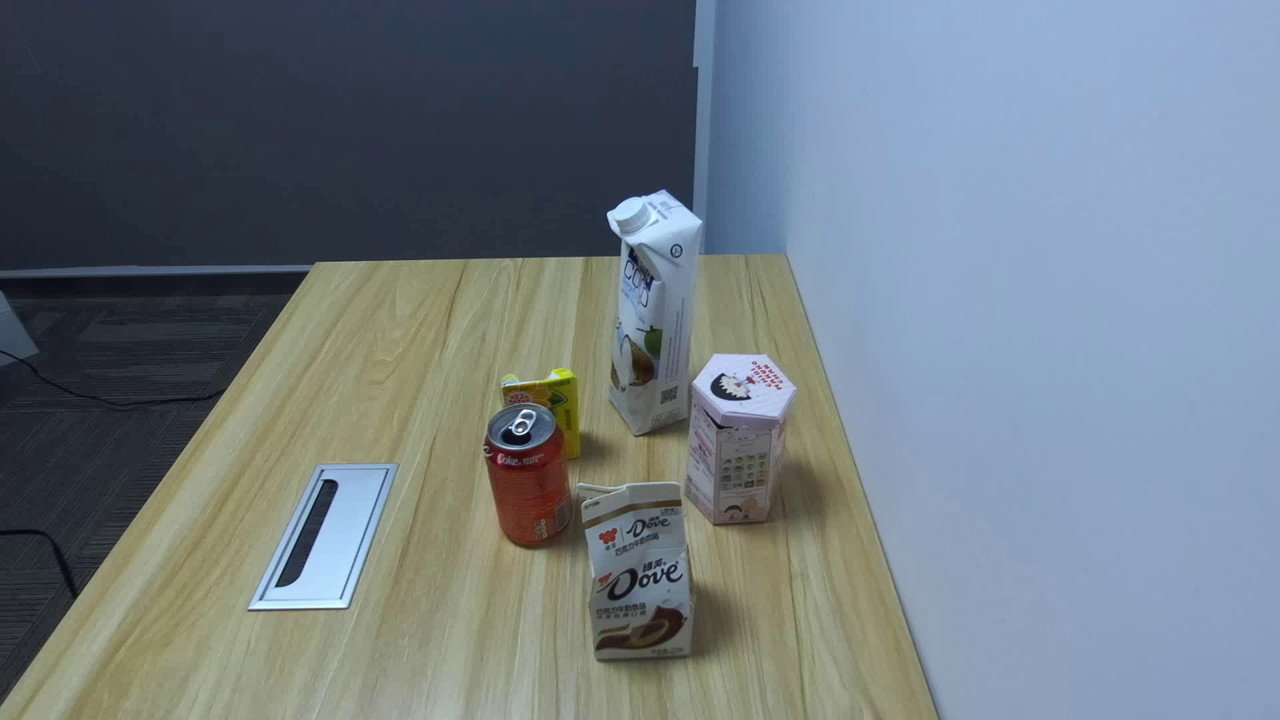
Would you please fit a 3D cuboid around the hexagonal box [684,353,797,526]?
[{"bbox_3d":[0.083,0.069,0.615,0.085,0.135,0.091,-20,42,-23],"label":"hexagonal box"}]

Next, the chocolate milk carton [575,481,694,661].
[{"bbox_3d":[0.001,0.143,0.510,0.084,0.155,0.073,-2,39,-1],"label":"chocolate milk carton"}]

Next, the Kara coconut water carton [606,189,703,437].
[{"bbox_3d":[0.012,-0.041,0.669,0.071,0.244,0.099,-17,40,-20],"label":"Kara coconut water carton"}]

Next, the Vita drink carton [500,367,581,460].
[{"bbox_3d":[-0.095,0.049,0.674,0.071,0.110,0.046,-11,40,-12],"label":"Vita drink carton"}]

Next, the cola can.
[{"bbox_3d":[-0.094,0.098,0.604,0.068,0.120,0.067,-2,37,1],"label":"cola can"}]
